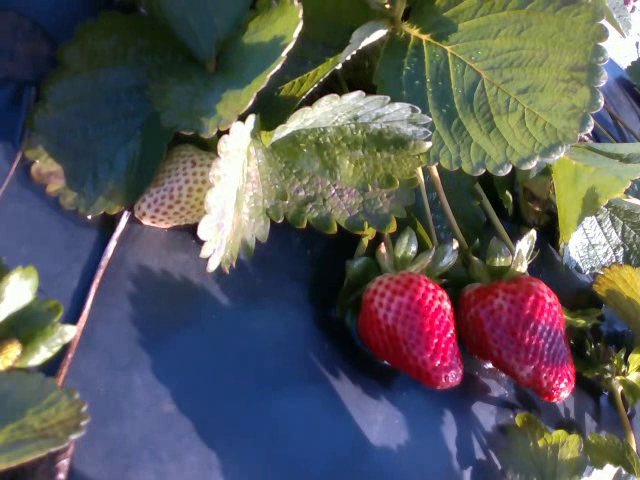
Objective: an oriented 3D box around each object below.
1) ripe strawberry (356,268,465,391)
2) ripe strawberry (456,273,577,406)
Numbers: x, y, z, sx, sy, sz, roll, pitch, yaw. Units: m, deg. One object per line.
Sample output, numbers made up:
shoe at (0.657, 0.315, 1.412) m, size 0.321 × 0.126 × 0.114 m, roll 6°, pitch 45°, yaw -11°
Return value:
ripe strawberry at (0.034, 0.034, 0.217) m, size 0.043 × 0.052 × 0.037 m, roll -25°, pitch -29°, yaw -11°
ripe strawberry at (0.081, 0.041, 0.244) m, size 0.052 × 0.058 × 0.046 m, roll -16°, pitch -33°, yaw -14°
